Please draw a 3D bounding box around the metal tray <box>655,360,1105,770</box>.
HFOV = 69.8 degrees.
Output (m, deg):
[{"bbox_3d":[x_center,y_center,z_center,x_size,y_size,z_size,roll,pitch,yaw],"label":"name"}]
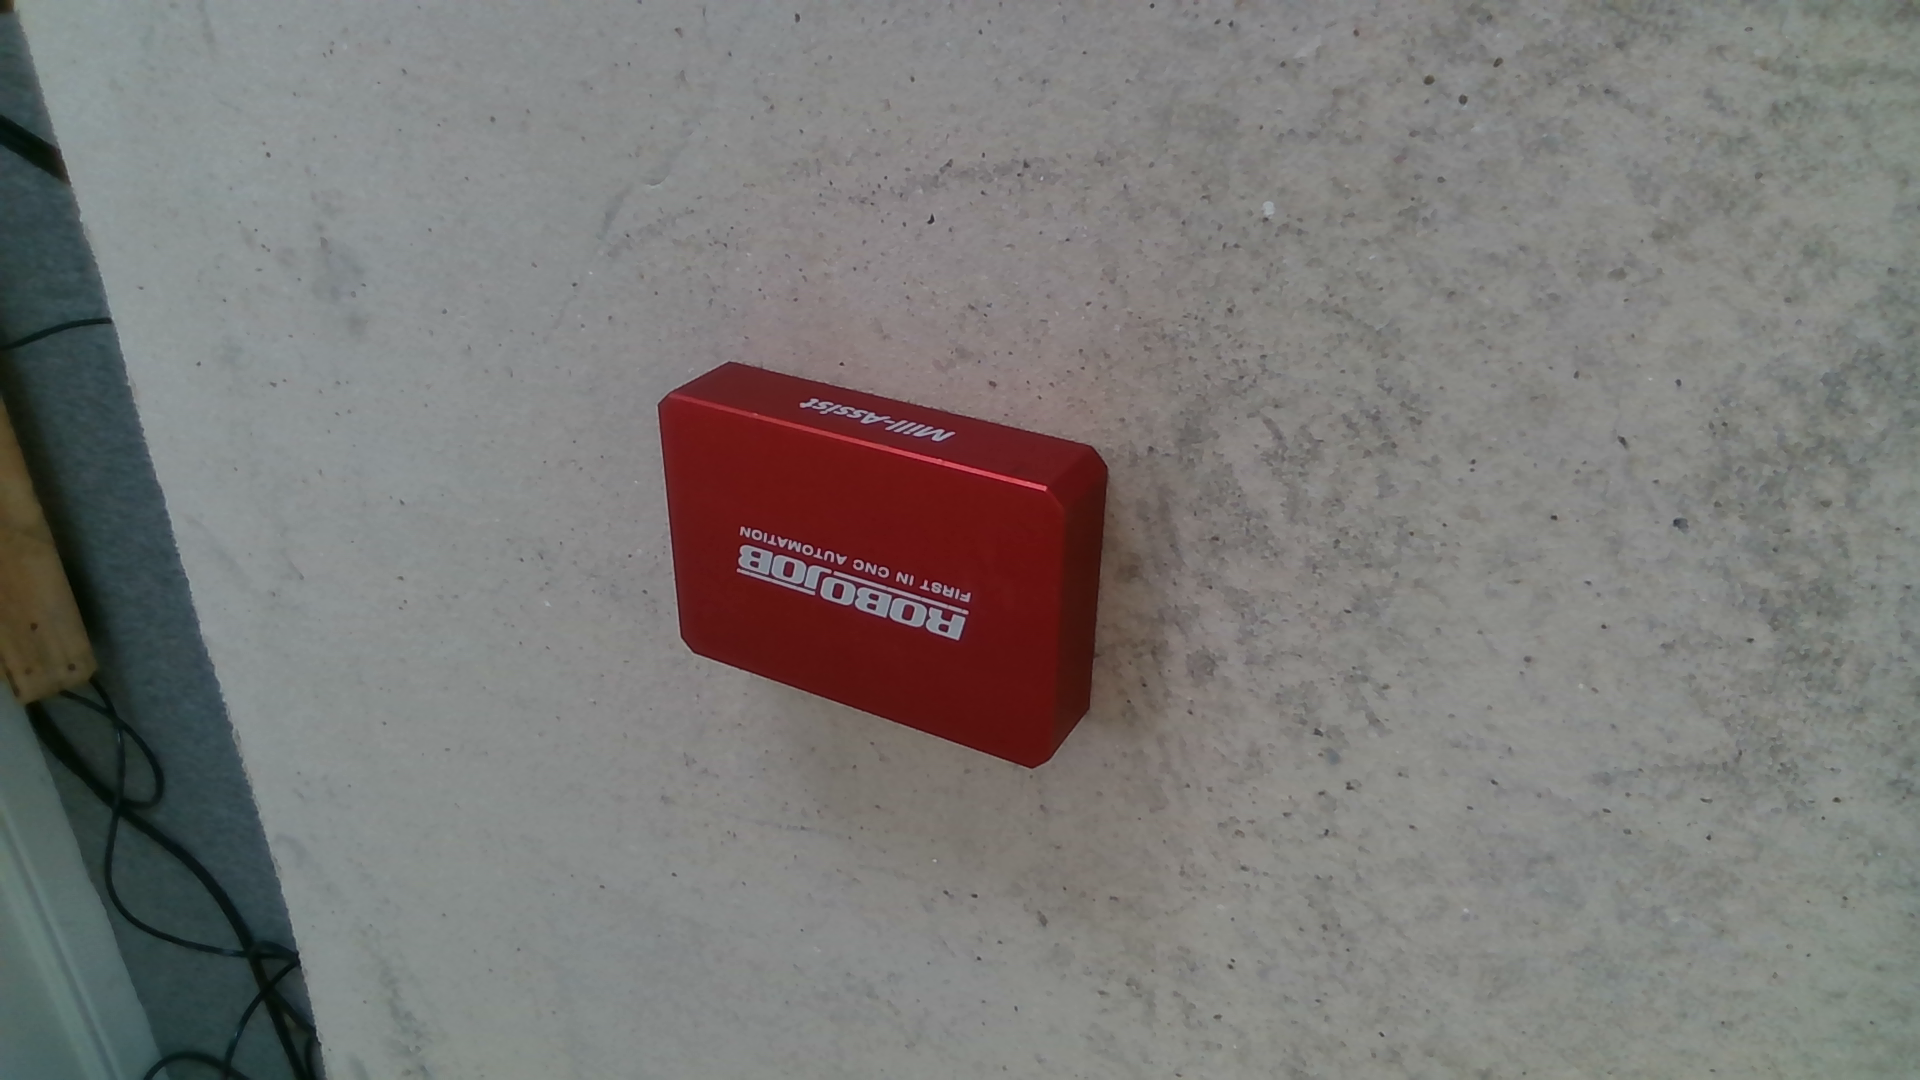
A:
[{"bbox_3d":[-0.025,0.005,0.403,0.130,0.030,0.090,16,123,25],"label":"metal tray"}]
